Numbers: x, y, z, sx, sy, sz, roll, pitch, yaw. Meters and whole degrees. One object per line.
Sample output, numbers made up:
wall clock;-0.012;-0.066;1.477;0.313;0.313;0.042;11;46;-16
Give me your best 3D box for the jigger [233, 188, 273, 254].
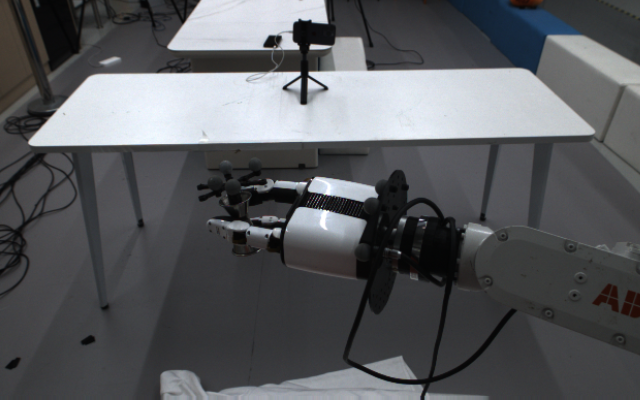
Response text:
jigger;-0.092;0.027;0.591;0.043;0.071;0.043;-10;23;5
